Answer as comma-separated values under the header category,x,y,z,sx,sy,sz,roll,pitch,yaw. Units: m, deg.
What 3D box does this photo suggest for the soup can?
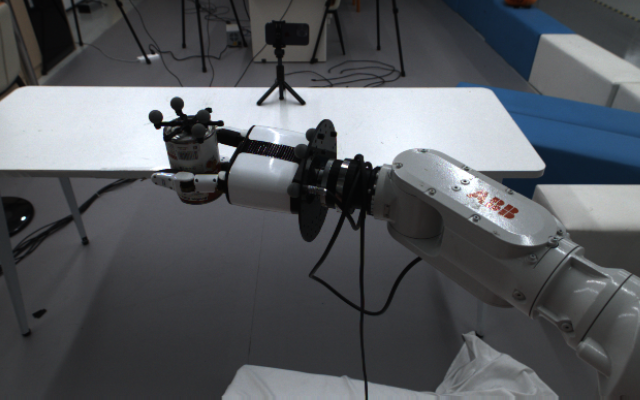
category,x,y,z,sx,sy,sz,roll,pitch,yaw
soup can,-0.168,-0.052,0.653,0.067,0.101,0.067,1,39,0
